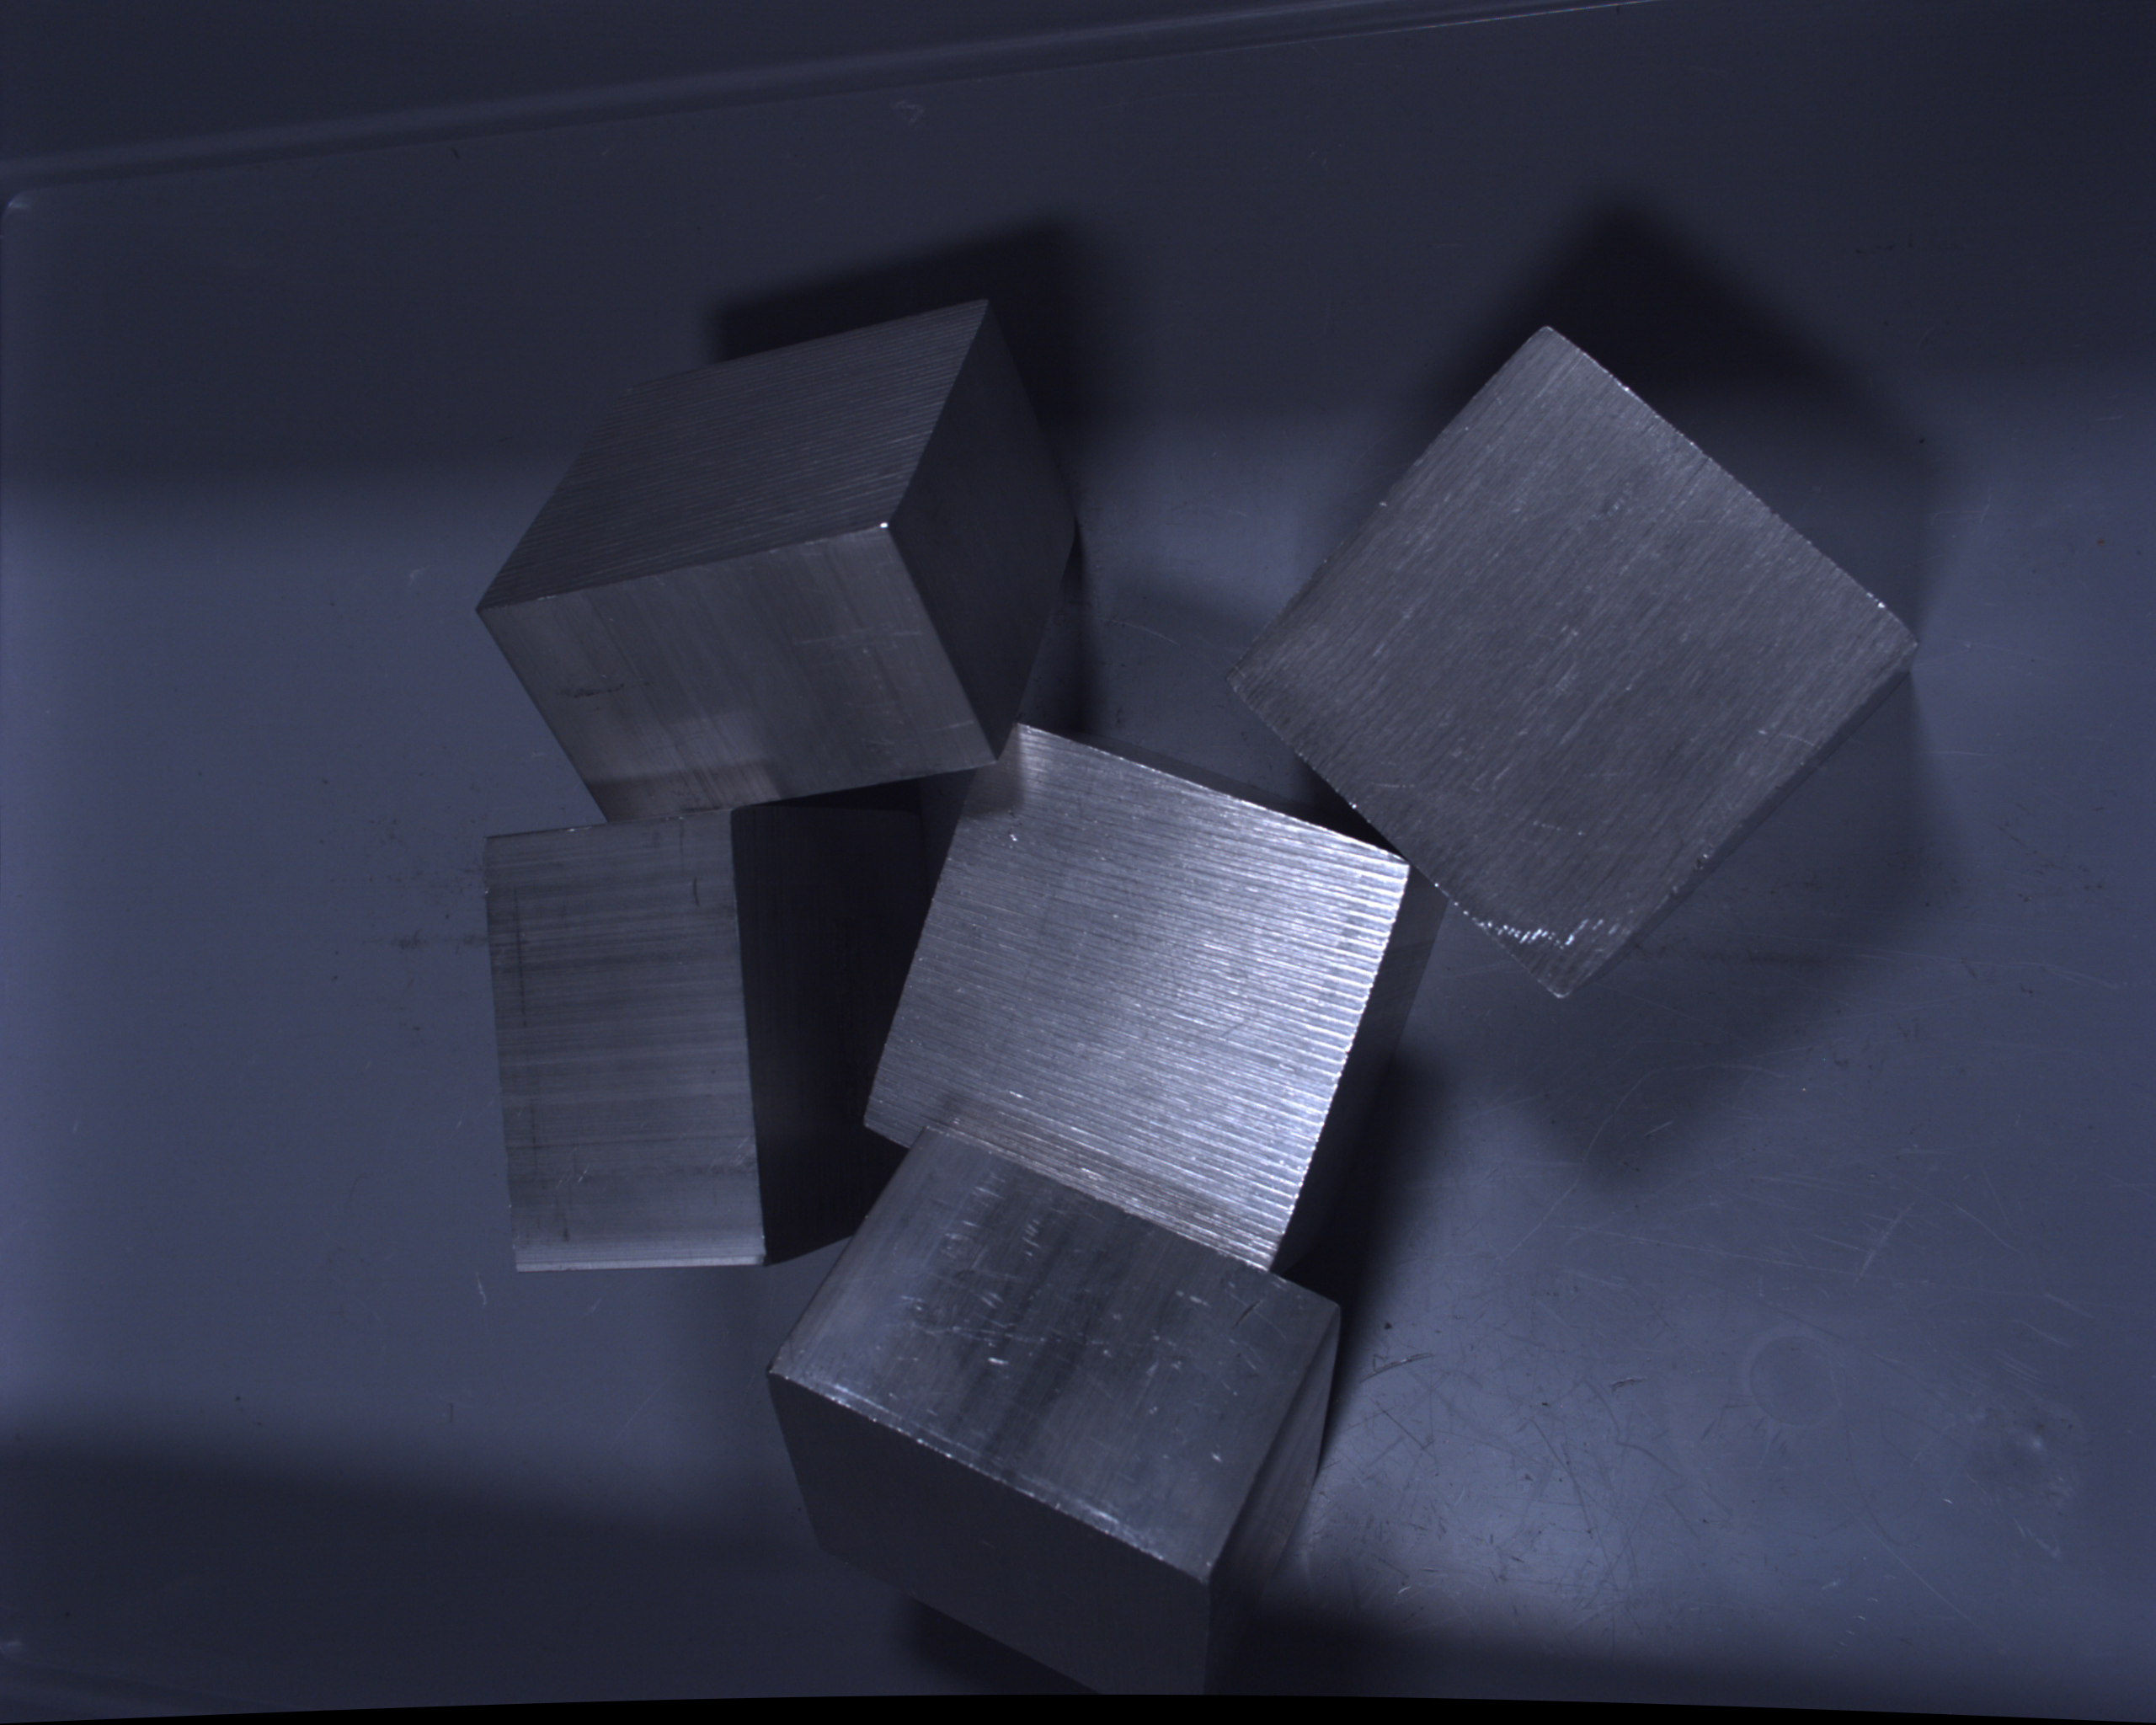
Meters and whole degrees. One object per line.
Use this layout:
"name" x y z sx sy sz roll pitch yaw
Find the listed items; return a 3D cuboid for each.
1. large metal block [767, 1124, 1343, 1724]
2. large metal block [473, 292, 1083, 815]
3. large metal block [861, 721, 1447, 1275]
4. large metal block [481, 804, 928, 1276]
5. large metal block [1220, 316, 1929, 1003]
"large metal block" -0.003 0.102 0.373 0.080 0.080 0.050 21 55 17
"large metal block" -0.052 -0.057 0.391 0.080 0.080 0.050 -8 129 20
"large metal block" 0.017 0.024 0.390 0.080 0.050 0.080 20 97 18
"large metal block" -0.066 0.032 0.402 0.050 0.080 0.080 -6 88 20
"large metal block" 0.087 -0.033 0.365 0.080 0.050 0.080 45 104 14
